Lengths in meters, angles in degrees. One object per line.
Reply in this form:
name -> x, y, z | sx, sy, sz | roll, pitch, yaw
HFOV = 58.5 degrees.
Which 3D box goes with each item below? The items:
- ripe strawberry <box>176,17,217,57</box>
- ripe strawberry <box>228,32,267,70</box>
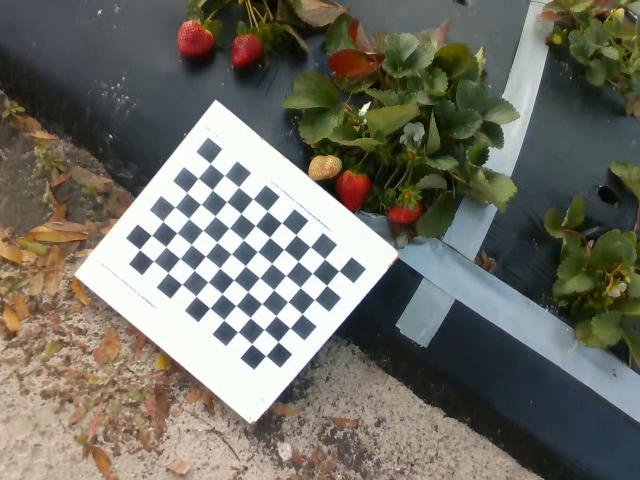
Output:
ripe strawberry -> -0.167, -0.258, 0.726 | 0.050, 0.061, 0.045 | 29, -33, 6
ripe strawberry -> -0.101, -0.247, 0.728 | 0.042, 0.053, 0.034 | 24, -30, 6
